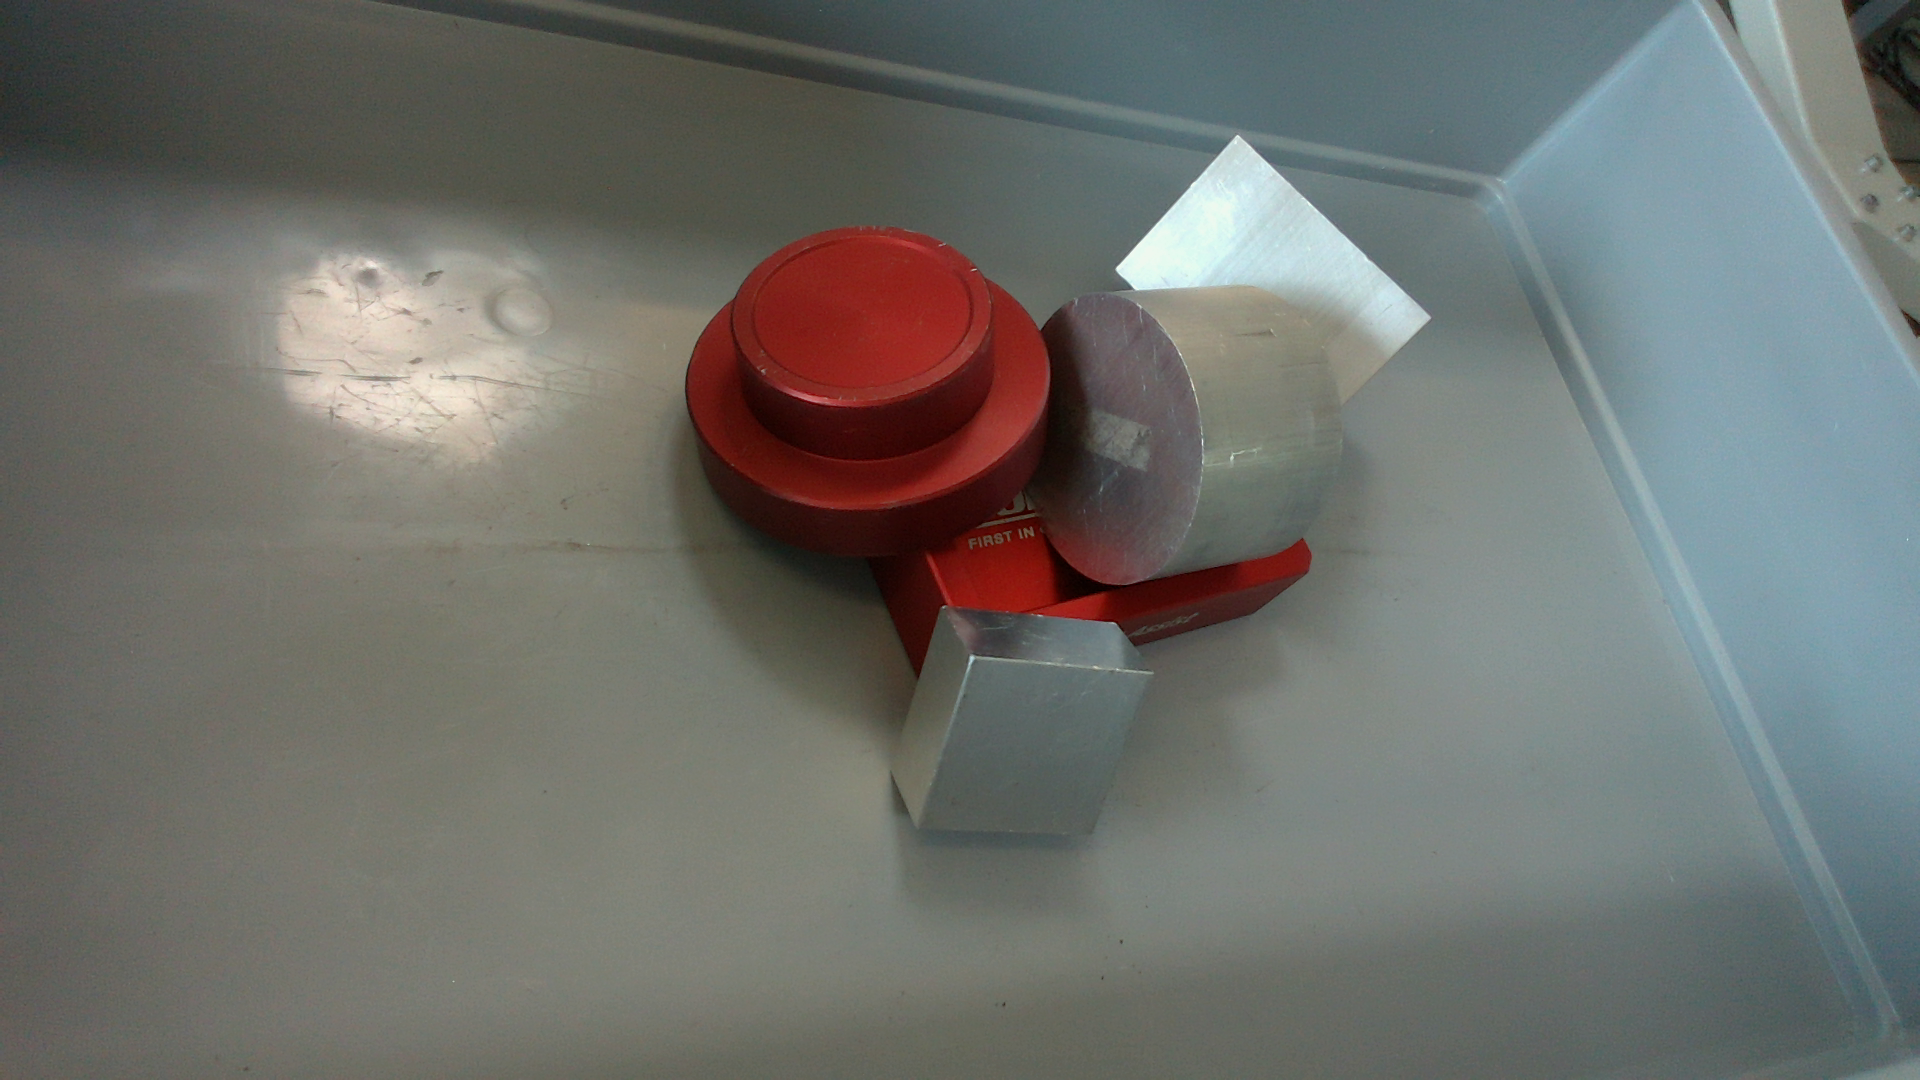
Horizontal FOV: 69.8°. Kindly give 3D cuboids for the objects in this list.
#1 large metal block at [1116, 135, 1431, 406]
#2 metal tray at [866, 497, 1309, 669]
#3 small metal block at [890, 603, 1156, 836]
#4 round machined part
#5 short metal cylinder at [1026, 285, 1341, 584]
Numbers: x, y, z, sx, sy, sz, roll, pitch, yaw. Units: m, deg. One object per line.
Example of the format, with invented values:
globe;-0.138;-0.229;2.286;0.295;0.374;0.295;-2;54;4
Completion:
large metal block;0.101;-0.081;0.450;0.080;0.050;0.080;44;14;2
metal tray;0.033;-0.012;0.411;0.130;0.030;0.090;-12;68;-33
small metal block;0.015;0.046;0.349;0.050;0.050;0.025;7;24;-24
round machined part;-0.025;-0.047;0.368;0.098;0.042;0.098;-1;51;1
short metal cylinder;0.059;-0.031;0.388;0.050;0.080;0.080;-9;66;-33
